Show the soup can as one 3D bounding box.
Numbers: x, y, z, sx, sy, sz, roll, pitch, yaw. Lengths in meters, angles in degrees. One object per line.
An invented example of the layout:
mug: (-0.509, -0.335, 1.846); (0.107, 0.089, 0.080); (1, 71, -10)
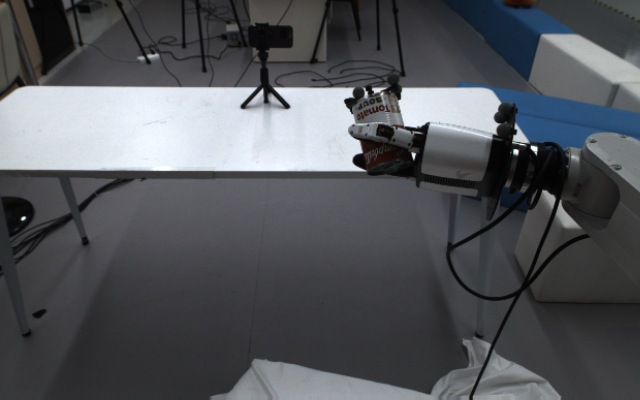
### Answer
soup can: (0.088, -0.093, 0.688); (0.067, 0.067, 0.101); (-10, 79, -16)
